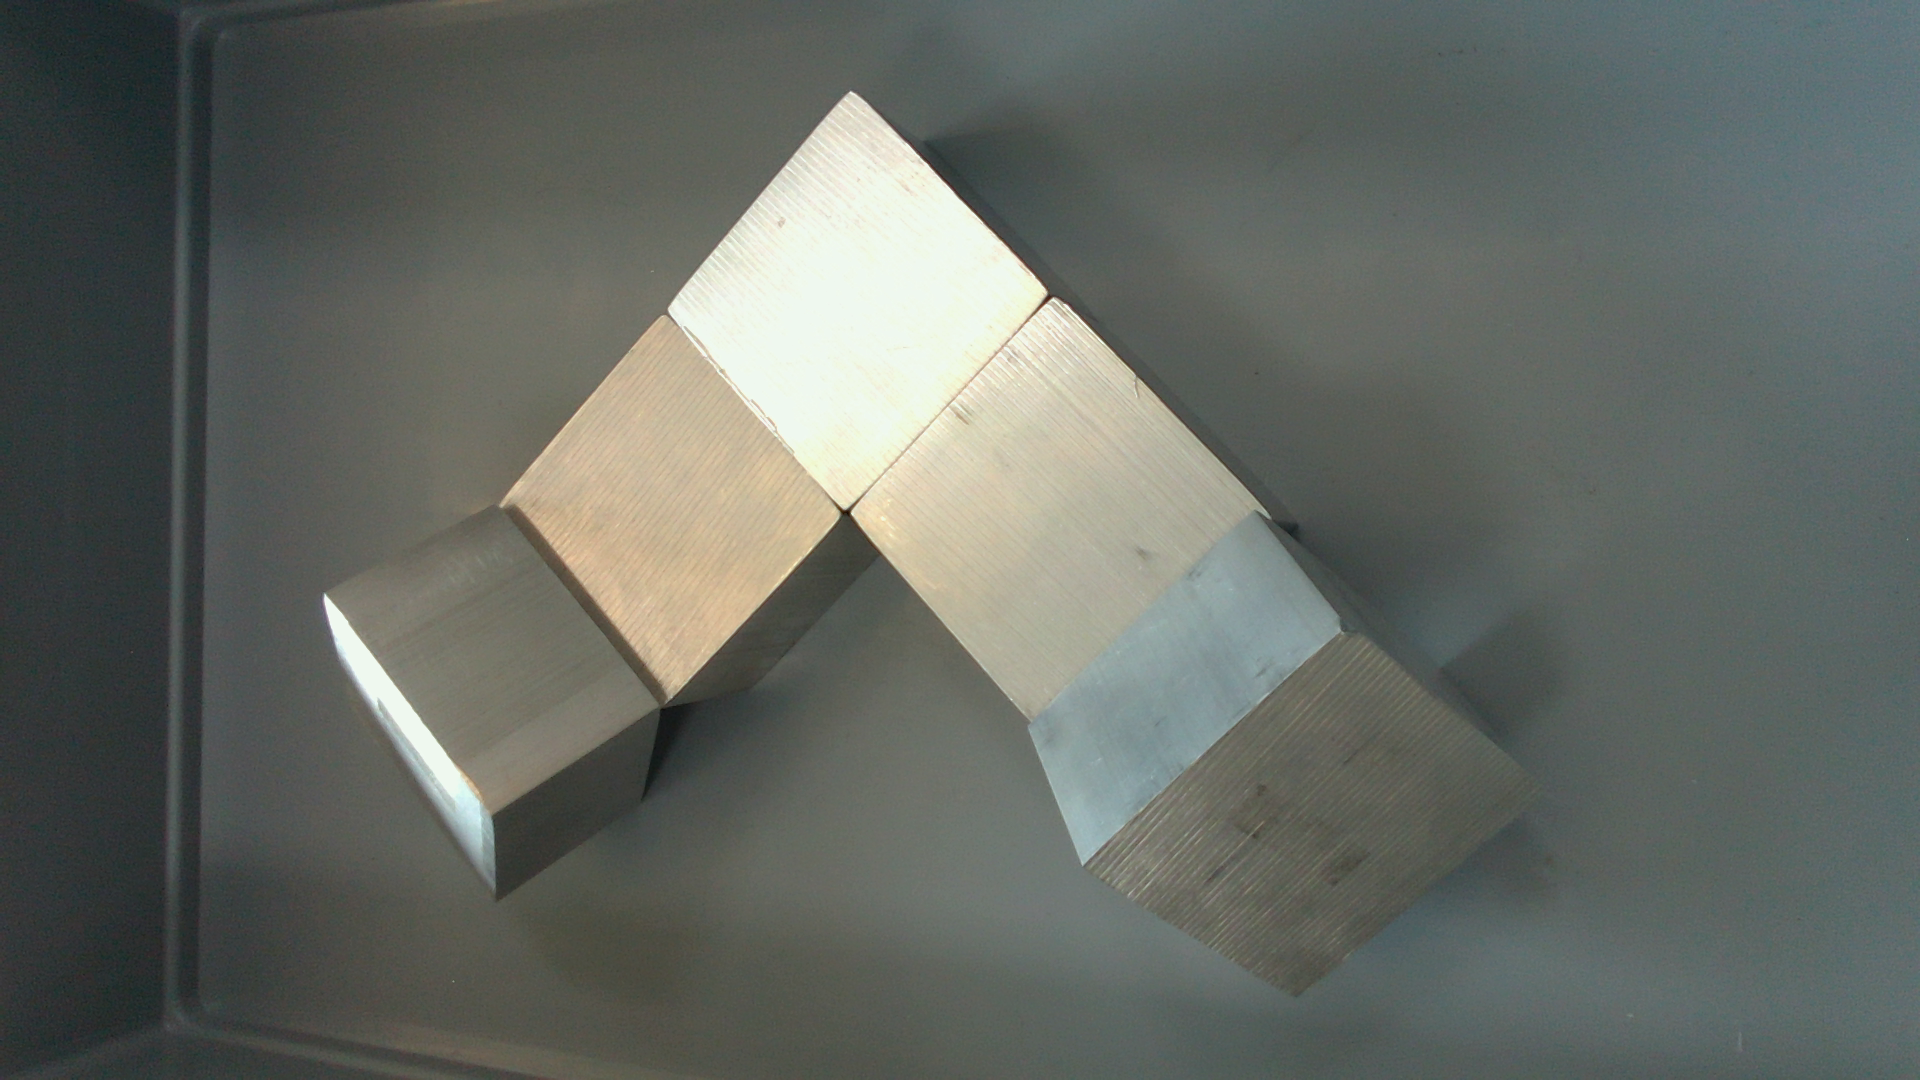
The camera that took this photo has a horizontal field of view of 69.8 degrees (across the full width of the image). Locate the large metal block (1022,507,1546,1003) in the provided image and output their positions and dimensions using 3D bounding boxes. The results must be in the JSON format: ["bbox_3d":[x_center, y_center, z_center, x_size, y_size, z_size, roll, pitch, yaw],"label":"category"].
[{"bbox_3d":[0.076,0.053,0.331,0.080,0.050,0.080,36,106,-28],"label":"large metal block"}]

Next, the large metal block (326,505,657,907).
[{"bbox_3d":[-0.138,0.051,0.408,0.080,0.050,0.080,48,147,14],"label":"large metal block"}]

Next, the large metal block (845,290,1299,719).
[{"bbox_3d":[0.031,-0.006,0.370,0.080,0.050,0.080,-46,76,14],"label":"large metal block"}]

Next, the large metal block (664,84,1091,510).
[{"bbox_3d":[-0.021,-0.065,0.389,0.080,0.050,0.080,-46,76,14],"label":"large metal block"}]

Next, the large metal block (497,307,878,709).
[{"bbox_3d":[-0.075,-0.009,0.408,0.080,0.050,0.080,-46,76,14],"label":"large metal block"}]
